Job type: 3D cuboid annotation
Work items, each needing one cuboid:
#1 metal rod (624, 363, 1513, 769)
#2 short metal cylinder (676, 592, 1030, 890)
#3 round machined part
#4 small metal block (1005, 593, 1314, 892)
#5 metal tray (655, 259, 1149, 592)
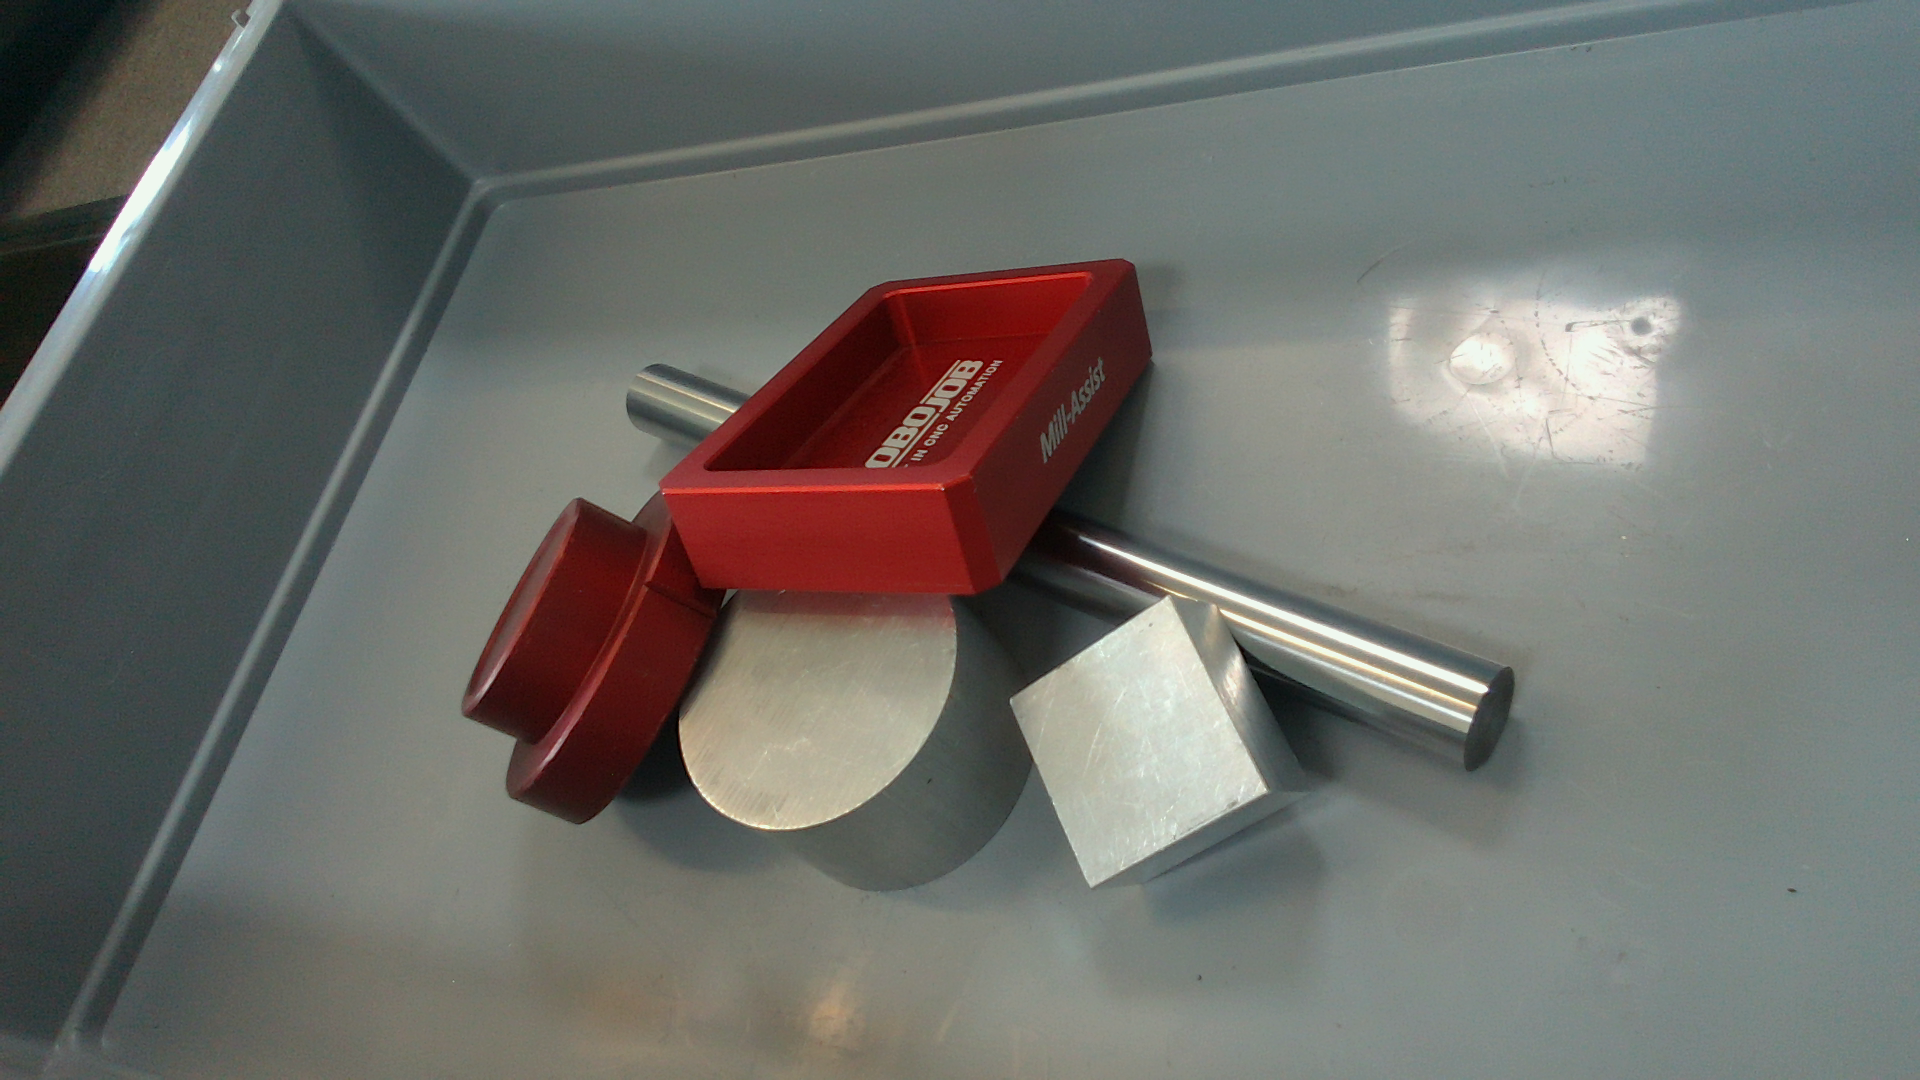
[{"bbox_3d":[0.005,-0.005,0.393,0.299,0.025,0.025,22,73,36],"label":"metal rod"},{"bbox_3d":[-0.027,0.046,0.362,0.080,0.050,0.080,-13,56,21],"label":"short metal cylinder"},{"bbox_3d":[-0.106,0.027,0.392,0.098,0.042,0.098,-48,24,30],"label":"round machined part"},{"bbox_3d":[0.046,0.048,0.324,0.050,0.025,0.050,-36,65,25],"label":"small metal block"},{"bbox_3d":[-0.010,-0.035,0.378,0.090,0.030,0.130,0,33,28],"label":"metal tray"}]
